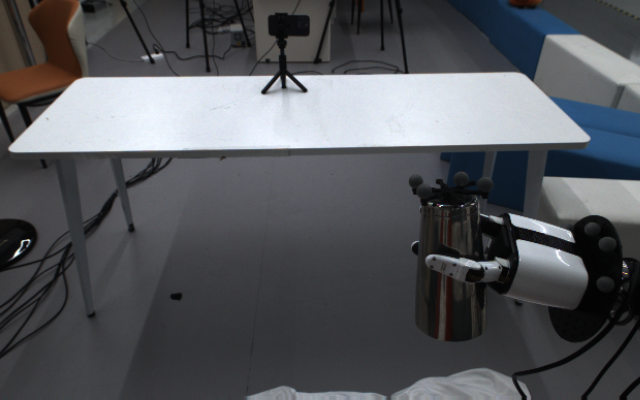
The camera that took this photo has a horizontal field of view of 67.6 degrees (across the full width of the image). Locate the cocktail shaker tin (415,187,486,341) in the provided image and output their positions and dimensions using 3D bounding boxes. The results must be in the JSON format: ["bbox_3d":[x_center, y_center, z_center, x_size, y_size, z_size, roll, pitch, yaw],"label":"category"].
[{"bbox_3d":[0.163,0.077,0.602,0.093,0.170,0.093,-6,19,2],"label":"cocktail shaker tin"}]
